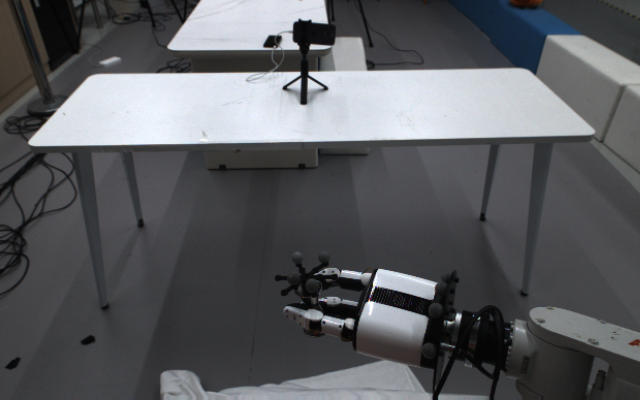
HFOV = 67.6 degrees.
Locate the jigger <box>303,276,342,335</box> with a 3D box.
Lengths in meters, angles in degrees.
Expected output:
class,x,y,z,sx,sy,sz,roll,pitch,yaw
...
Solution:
class,x,y,z,sx,sy,sz,roll,pitch,yaw
jigger,-0.007,0.148,0.679,0.043,0.071,0.043,-11,23,5
